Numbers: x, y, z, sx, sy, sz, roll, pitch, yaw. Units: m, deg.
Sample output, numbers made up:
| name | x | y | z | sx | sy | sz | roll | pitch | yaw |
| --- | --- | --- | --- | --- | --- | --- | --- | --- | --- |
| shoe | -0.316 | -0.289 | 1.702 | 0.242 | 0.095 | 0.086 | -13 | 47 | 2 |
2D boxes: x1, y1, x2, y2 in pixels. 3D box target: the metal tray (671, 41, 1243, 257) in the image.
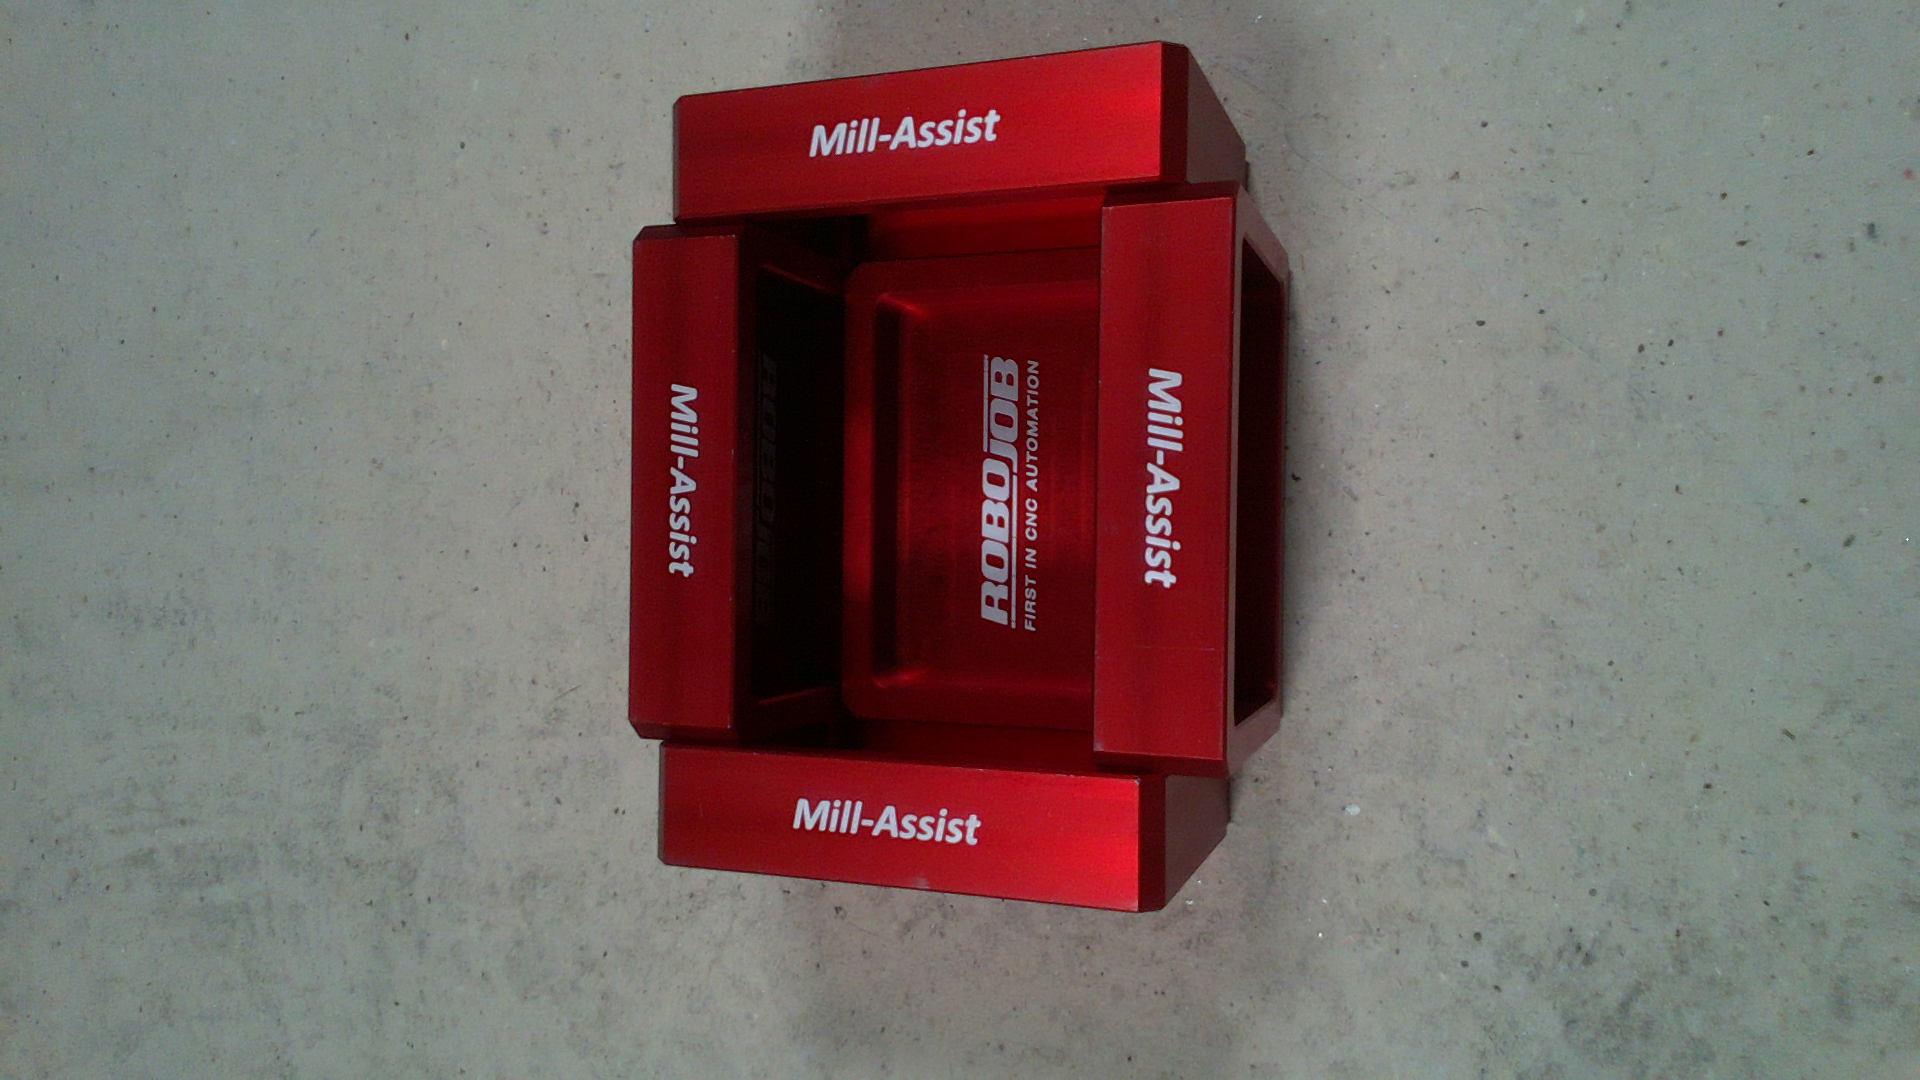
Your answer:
| name | x | y | z | sx | sy | sz | roll | pitch | yaw |
| --- | --- | --- | --- | --- | --- | --- | --- | --- | --- |
| metal tray | 0.003 | -0.094 | 0.360 | 0.130 | 0.090 | 0.030 | 1 | 90 | 20 |

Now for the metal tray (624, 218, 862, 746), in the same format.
| name | x | y | z | sx | sy | sz | roll | pitch | yaw |
| --- | --- | --- | --- | --- | --- | --- | --- | --- | --- |
| metal tray | -0.054 | -0.014 | 0.380 | 0.030 | 0.090 | 0.130 | 1 | 90 | 20 |

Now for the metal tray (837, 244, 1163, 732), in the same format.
| name | x | y | z | sx | sy | sz | roll | pitch | yaw |
| --- | --- | --- | --- | --- | --- | --- | --- | --- | --- |
| metal tray | 0.013 | -0.014 | 0.389 | 0.090 | 0.030 | 0.130 | 1 | 90 | 20 |

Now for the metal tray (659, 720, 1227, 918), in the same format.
| name | x | y | z | sx | sy | sz | roll | pitch | yaw |
| --- | --- | --- | --- | --- | --- | --- | --- | --- | --- |
| metal tray | -0.001 | 0.067 | 0.361 | 0.130 | 0.090 | 0.030 | 1 | 90 | 20 |

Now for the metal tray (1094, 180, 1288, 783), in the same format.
| name | x | y | z | sx | sy | sz | roll | pitch | yaw |
| --- | --- | --- | --- | --- | --- | --- | --- | --- | --- |
| metal tray | 0.060 | -0.013 | 0.339 | 0.030 | 0.090 | 0.130 | 1 | 90 | 20 |
